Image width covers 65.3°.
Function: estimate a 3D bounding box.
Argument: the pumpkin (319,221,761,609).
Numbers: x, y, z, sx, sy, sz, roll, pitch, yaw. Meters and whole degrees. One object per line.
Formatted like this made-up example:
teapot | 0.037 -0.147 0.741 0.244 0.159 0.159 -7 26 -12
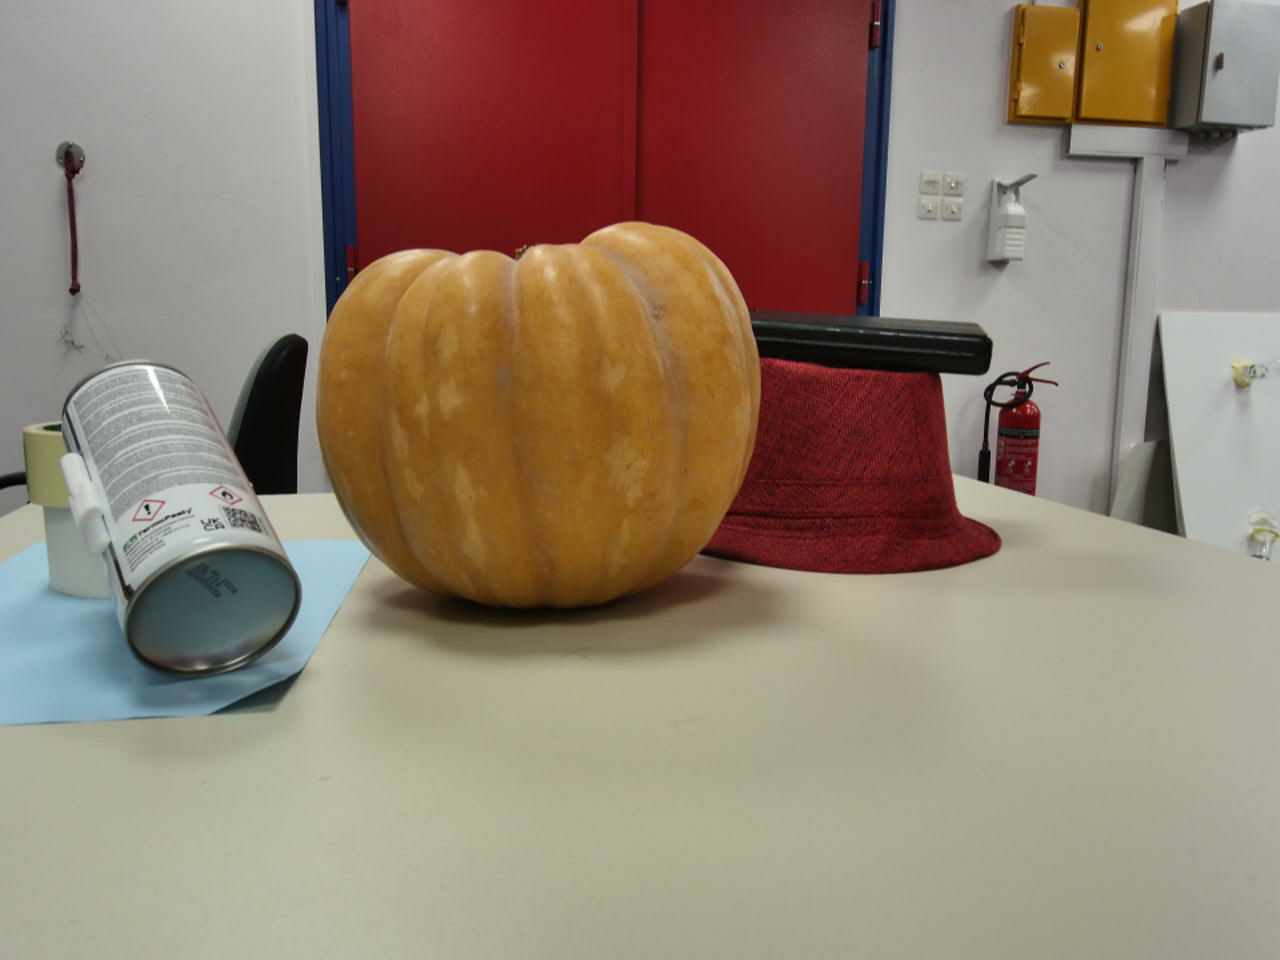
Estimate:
pumpkin | -0.047 -0.034 0.524 0.230 0.194 0.230 0 7 0
